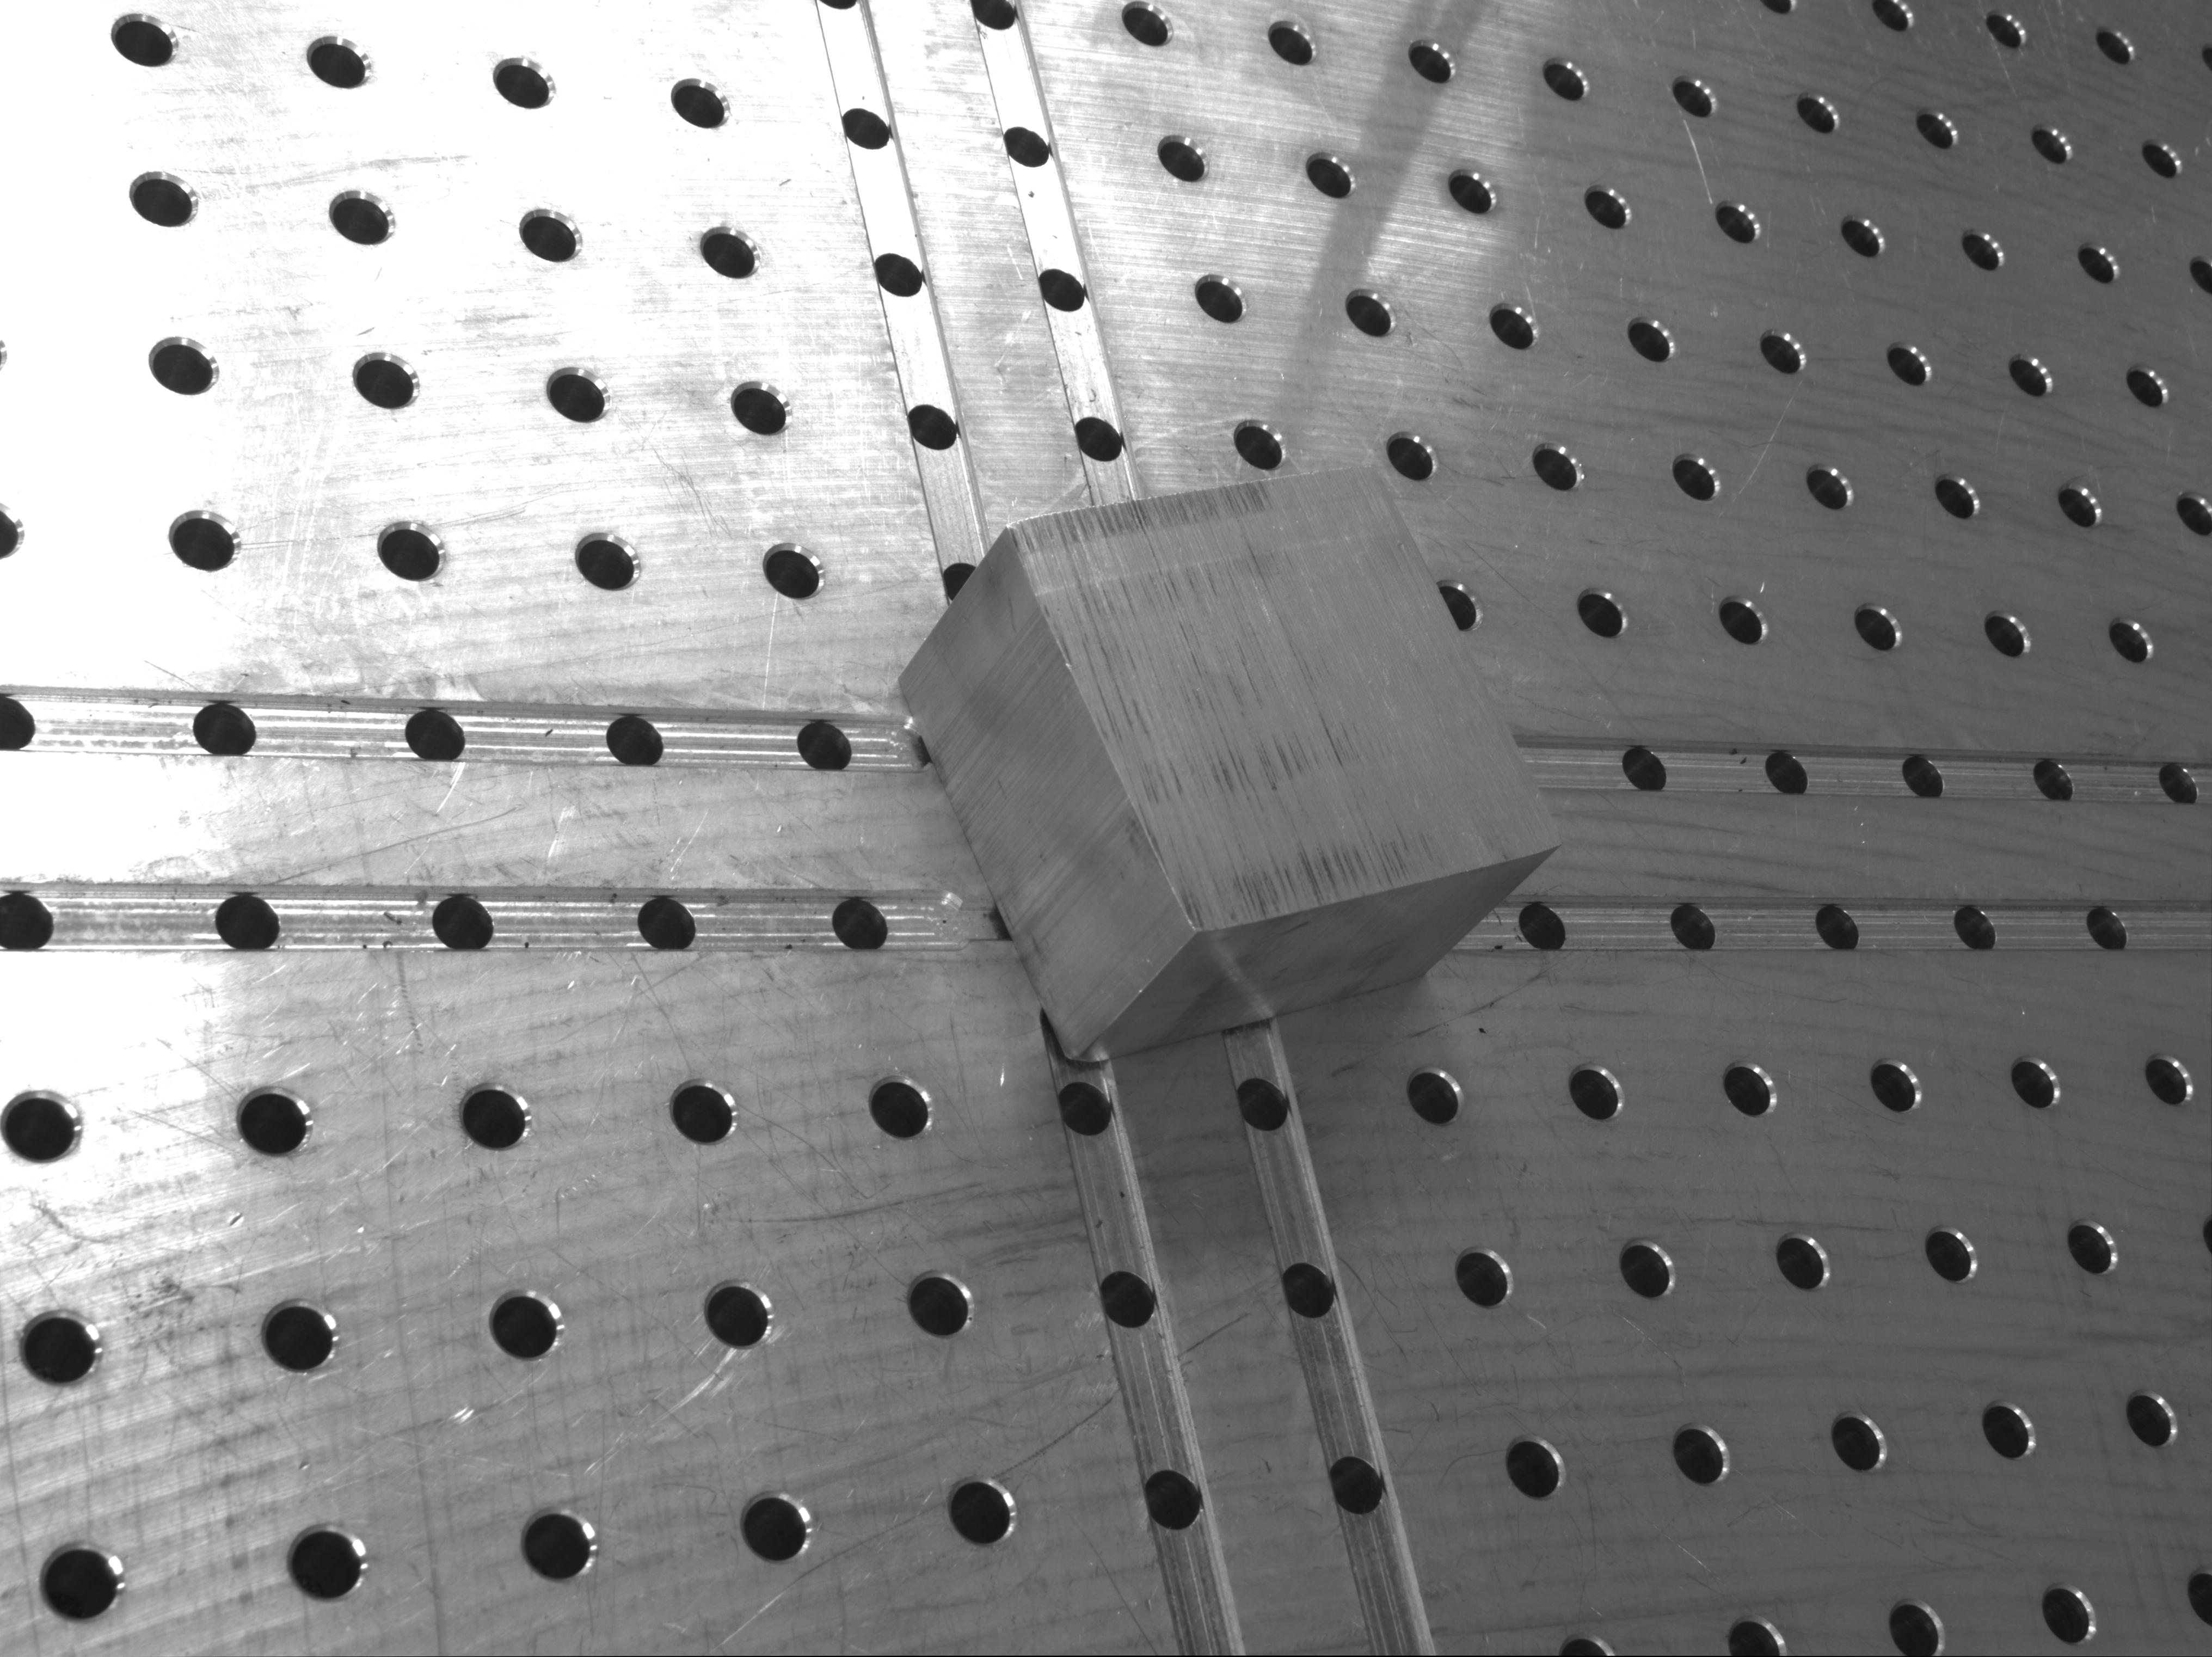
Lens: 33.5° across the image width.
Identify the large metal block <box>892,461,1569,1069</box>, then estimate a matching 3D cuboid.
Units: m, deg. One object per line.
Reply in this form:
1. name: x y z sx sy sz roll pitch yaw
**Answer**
1. large metal block: 0.021 -0.012 0.644 0.080 0.050 0.080 -13 68 -33
